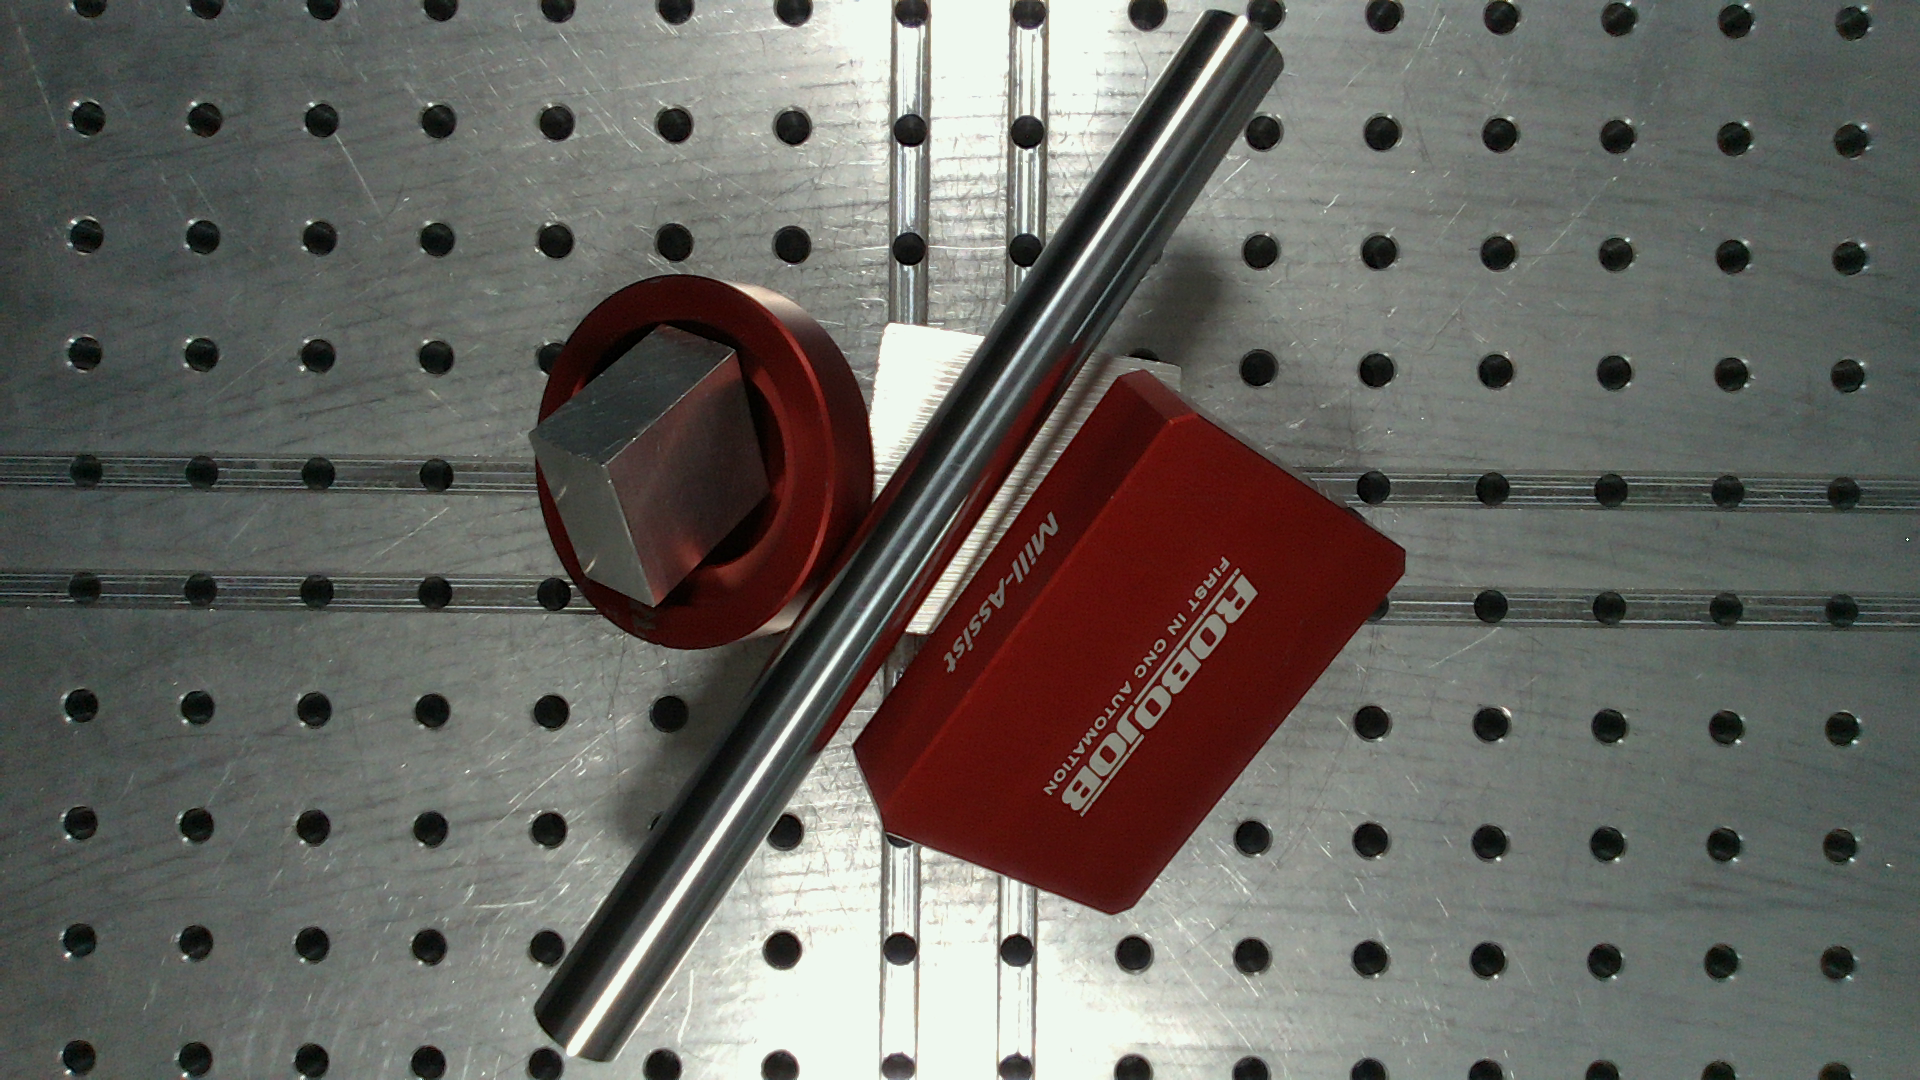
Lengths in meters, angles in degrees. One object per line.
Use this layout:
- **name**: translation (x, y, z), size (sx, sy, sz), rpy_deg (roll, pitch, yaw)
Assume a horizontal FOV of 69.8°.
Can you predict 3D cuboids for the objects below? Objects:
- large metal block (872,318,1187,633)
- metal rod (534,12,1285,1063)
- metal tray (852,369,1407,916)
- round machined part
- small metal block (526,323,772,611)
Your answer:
- **large metal block**: translation (0.014, -0.013, 0.385), size (0.080, 0.050, 0.080), rpy_deg (9, 90, 0)
- **metal rod**: translation (-0.013, -0.001, 0.347), size (0.025, 0.025, 0.300), rpy_deg (34, 90, 0)
- **metal tray**: translation (0.044, 0.032, 0.362), size (0.090, 0.030, 0.130), rpy_deg (27, 105, -31)
- **round machined part**: translation (-0.065, -0.021, 0.376), size (0.098, 0.042, 0.098), rpy_deg (2, 94, 25)
- **small metal block**: translation (-0.078, -0.019, 0.357), size (0.025, 0.050, 0.050), rpy_deg (22, 51, 25)
